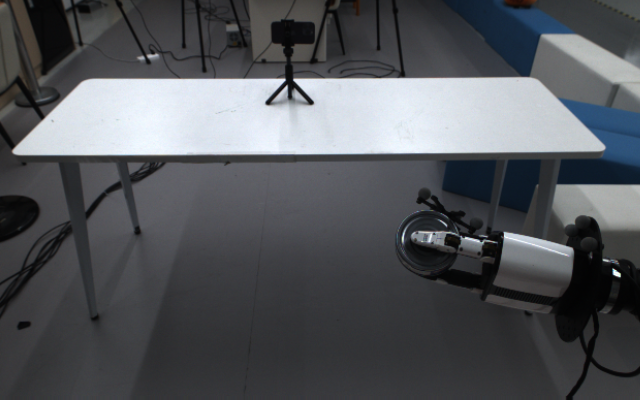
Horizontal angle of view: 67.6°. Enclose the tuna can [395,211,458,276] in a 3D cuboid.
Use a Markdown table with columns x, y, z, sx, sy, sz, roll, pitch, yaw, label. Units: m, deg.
| x | y | z | sx | sy | sz | roll | pitch | yaw | label |
| --- | --- | --- | --- | --- | --- | --- | --- | --- | --- |
| 0.147 | 0.055 | 0.651 | 0.085 | 0.034 | 0.085 | -4 | 69 | 10 | tuna can |
